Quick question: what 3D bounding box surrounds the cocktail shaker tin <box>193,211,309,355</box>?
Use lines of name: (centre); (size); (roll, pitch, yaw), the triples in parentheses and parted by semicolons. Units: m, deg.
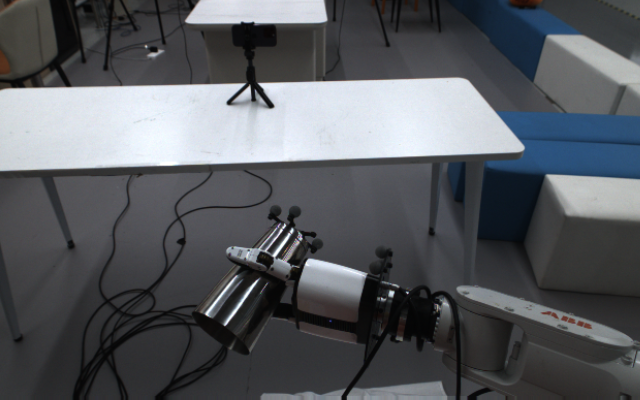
cocktail shaker tin: (-0.085, 0.110, 0.663); (0.093, 0.093, 0.170); (19, 54, 23)
